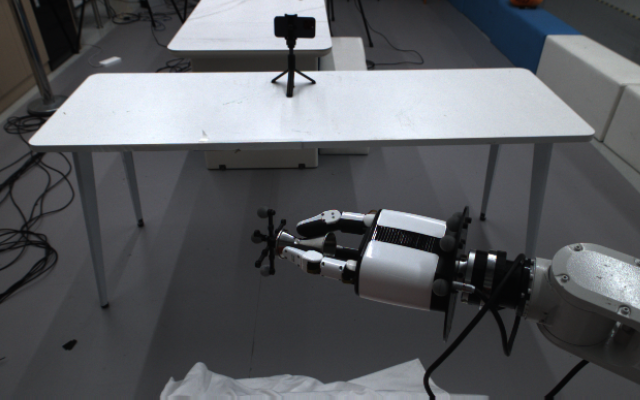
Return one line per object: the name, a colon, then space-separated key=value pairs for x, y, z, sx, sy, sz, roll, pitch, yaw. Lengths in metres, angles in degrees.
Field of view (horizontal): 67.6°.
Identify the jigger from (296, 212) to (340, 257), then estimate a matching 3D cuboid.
jigger: x=-0.012 y=0.057 z=0.625 sx=0.071 sy=0.043 sz=0.043 roll=4 pitch=33 yaw=23
